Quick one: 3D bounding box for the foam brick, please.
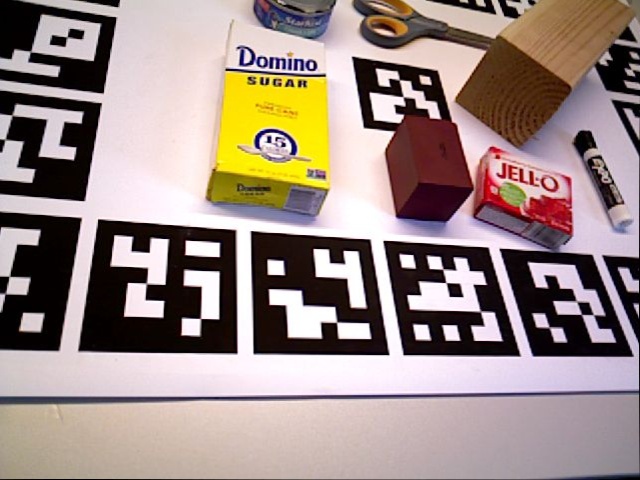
[{"bbox_3d":[0.091,-0.050,0.486,0.052,0.052,0.077,6,60,-13],"label":"foam brick"}]

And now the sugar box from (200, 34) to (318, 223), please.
[{"bbox_3d":[-0.050,-0.102,0.484,0.092,0.046,0.174,9,59,-13],"label":"sugar box"}]

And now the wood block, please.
[{"bbox_3d":[0.251,-0.186,0.597,0.090,0.093,0.202,41,57,10],"label":"wood block"}]

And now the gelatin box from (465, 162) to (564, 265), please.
[{"bbox_3d":[0.186,-0.026,0.519,0.089,0.031,0.072,21,58,-4],"label":"gelatin box"}]

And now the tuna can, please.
[{"bbox_3d":[-0.036,-0.246,0.571,0.085,0.034,0.084,7,60,-13],"label":"tuna can"}]

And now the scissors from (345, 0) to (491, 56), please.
[{"bbox_3d":[0.126,-0.233,0.627,0.201,0.016,0.086,10,59,-8],"label":"scissors"}]

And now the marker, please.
[{"bbox_3d":[0.287,-0.050,0.568,0.019,0.020,0.119,5,62,-14],"label":"marker"}]
